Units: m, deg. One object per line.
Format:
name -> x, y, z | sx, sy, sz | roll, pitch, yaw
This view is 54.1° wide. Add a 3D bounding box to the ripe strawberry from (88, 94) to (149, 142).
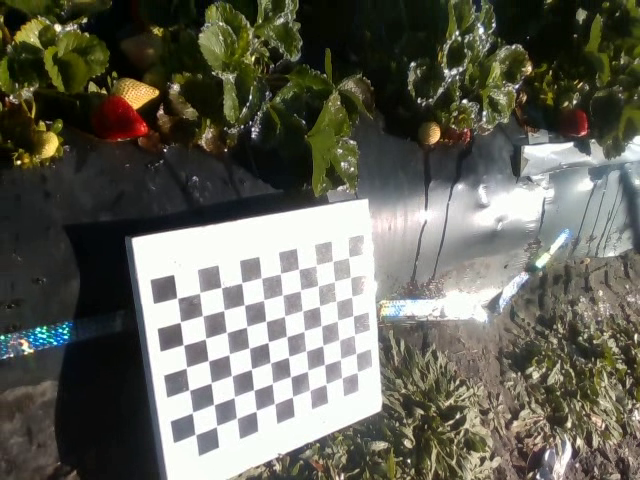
ripe strawberry -> -0.160, -0.097, 0.510 | 0.053, 0.040, 0.042 | 23, -29, 28
